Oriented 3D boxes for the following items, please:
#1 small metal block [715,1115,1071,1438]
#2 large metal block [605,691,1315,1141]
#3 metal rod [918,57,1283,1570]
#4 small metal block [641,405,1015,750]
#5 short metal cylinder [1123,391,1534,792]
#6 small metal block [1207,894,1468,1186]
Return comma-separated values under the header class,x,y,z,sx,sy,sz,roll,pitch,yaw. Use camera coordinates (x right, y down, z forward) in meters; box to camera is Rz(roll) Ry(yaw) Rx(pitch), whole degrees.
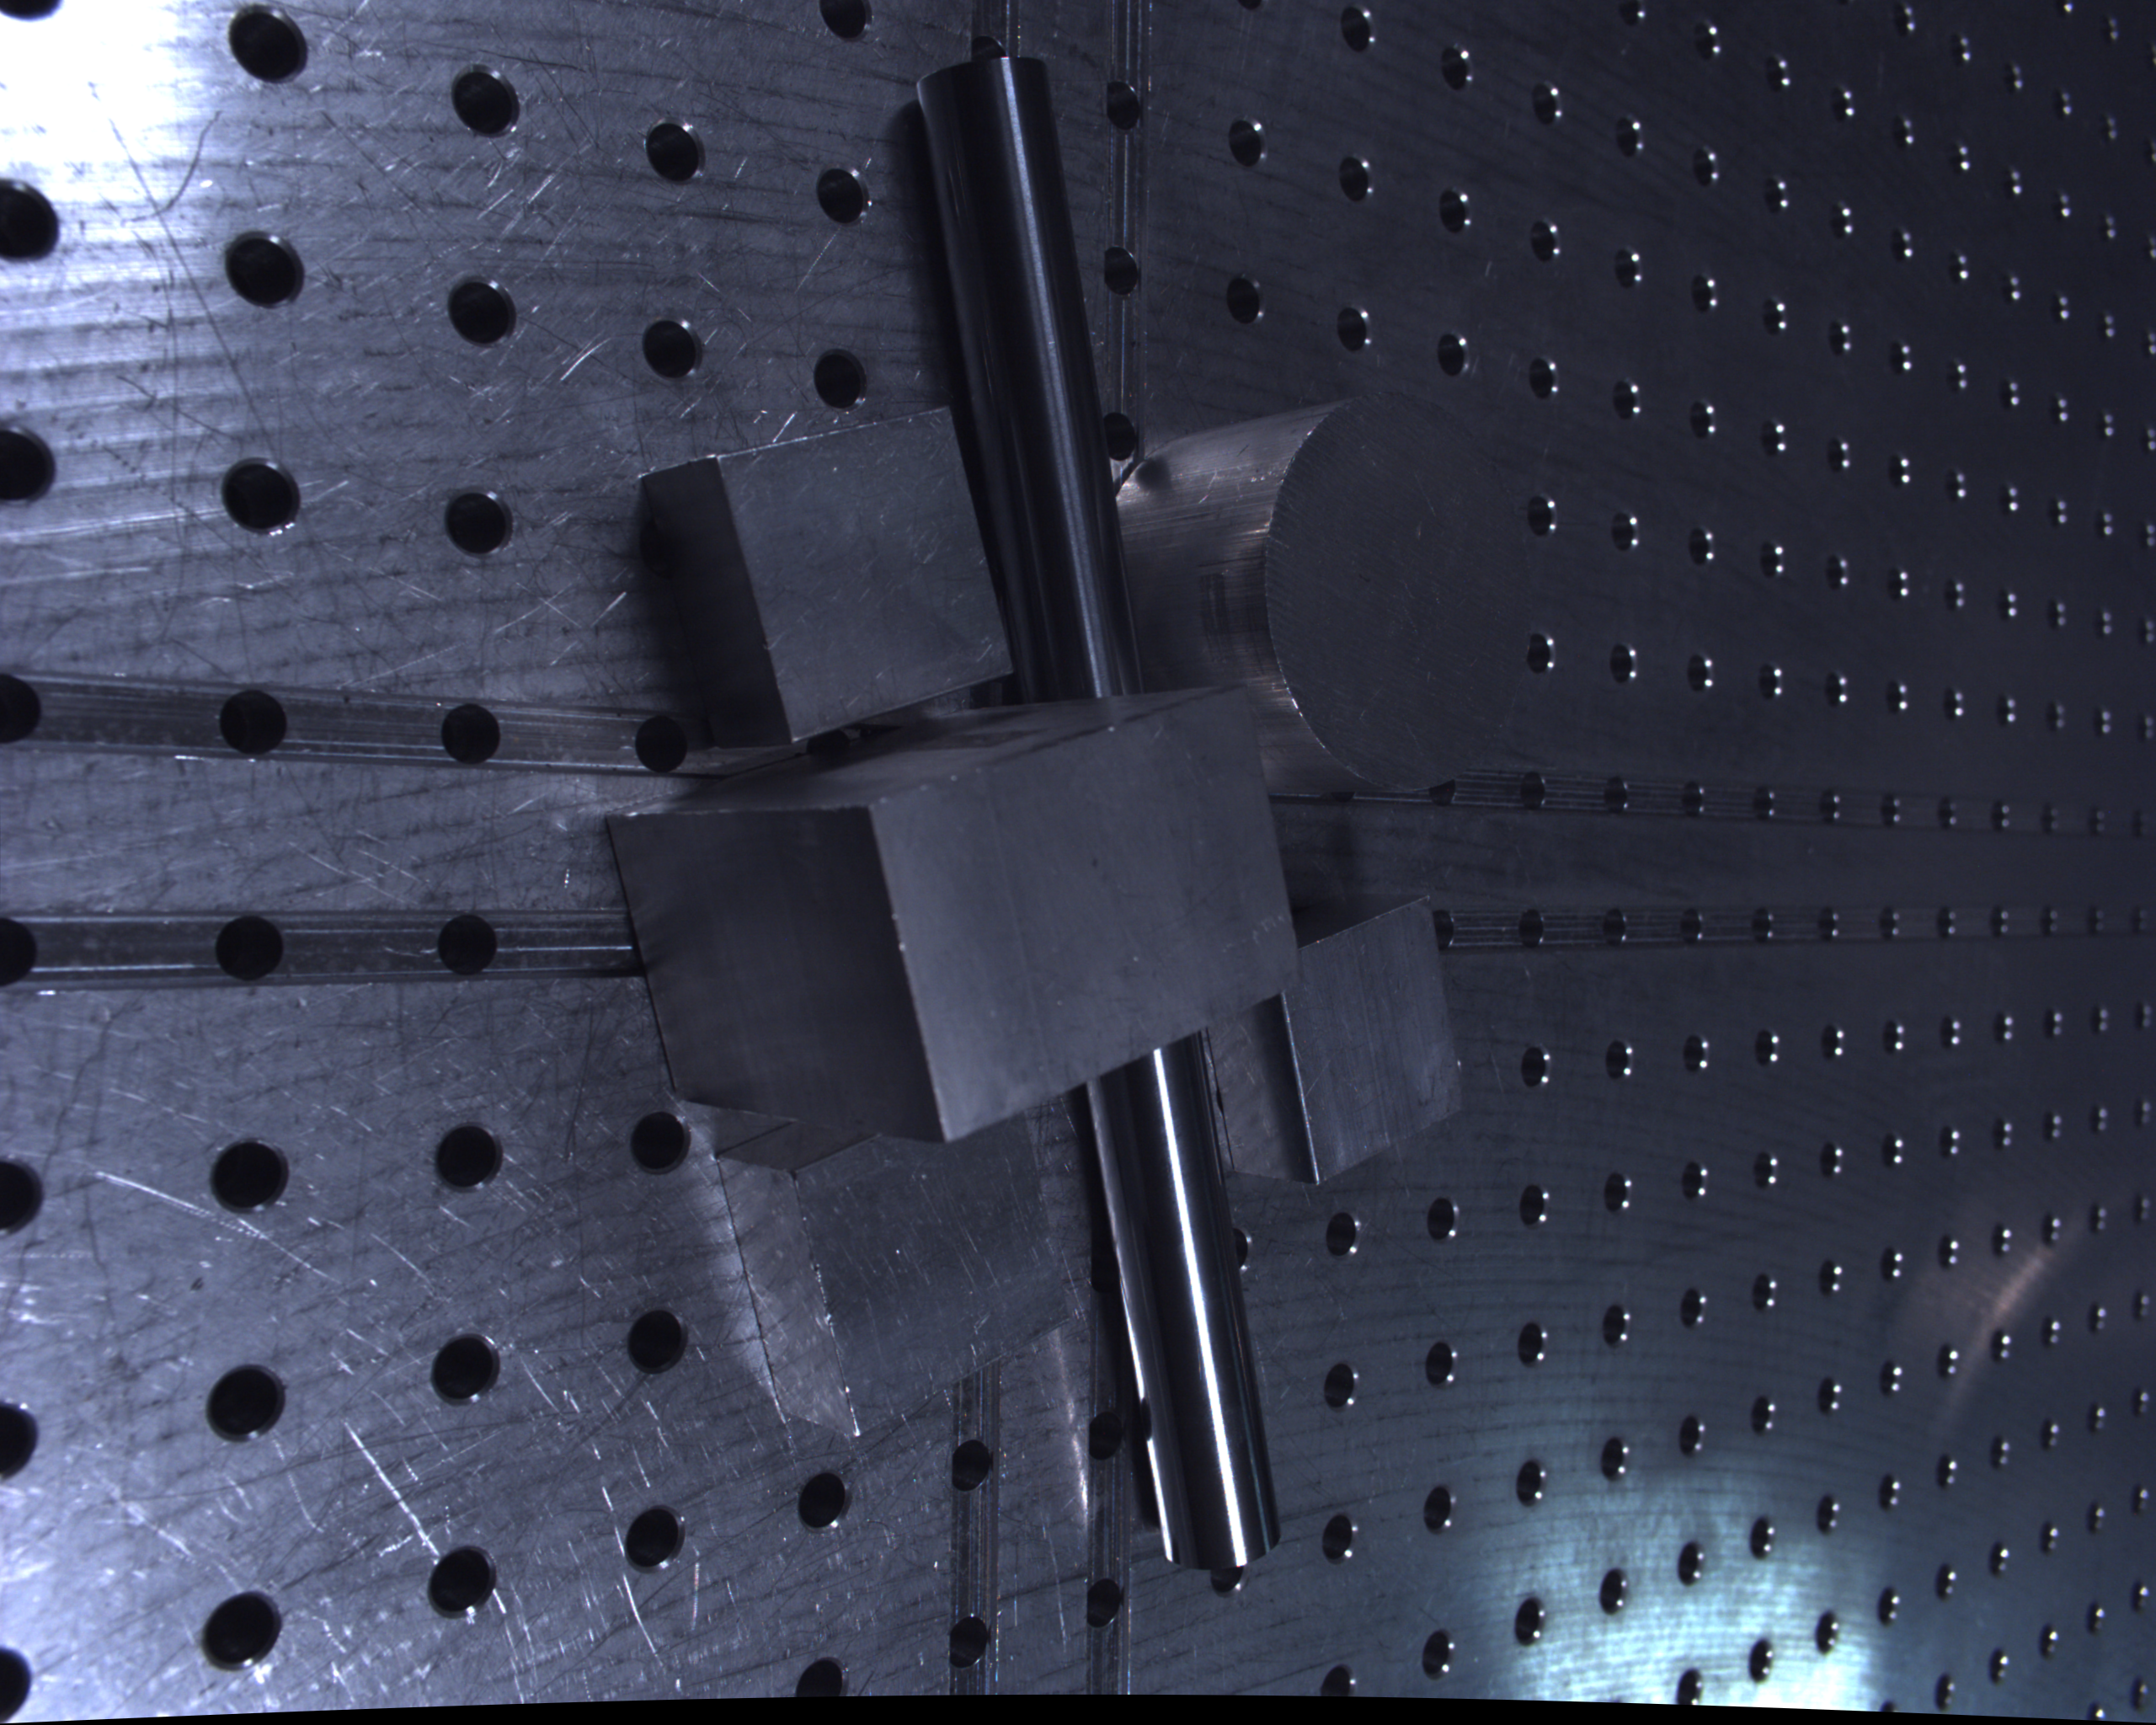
class,x,y,z,sx,sy,sz,roll,pitch,yaw
small metal block,-0.033,0.069,0.383,0.050,0.025,0.050,-20,103,-38
large metal block,-0.020,0.006,0.356,0.081,0.080,0.050,-20,103,-39
metal rod,0.006,-0.003,0.416,0.025,0.025,0.298,-16,100,-39
small metal block,-0.044,-0.051,0.374,0.050,0.025,0.050,-22,104,-38
short metal cylinder,0.050,-0.055,0.436,0.081,0.050,0.079,0,90,-40
small metal block,0.056,0.037,0.459,0.050,0.025,0.050,-19,102,-39
